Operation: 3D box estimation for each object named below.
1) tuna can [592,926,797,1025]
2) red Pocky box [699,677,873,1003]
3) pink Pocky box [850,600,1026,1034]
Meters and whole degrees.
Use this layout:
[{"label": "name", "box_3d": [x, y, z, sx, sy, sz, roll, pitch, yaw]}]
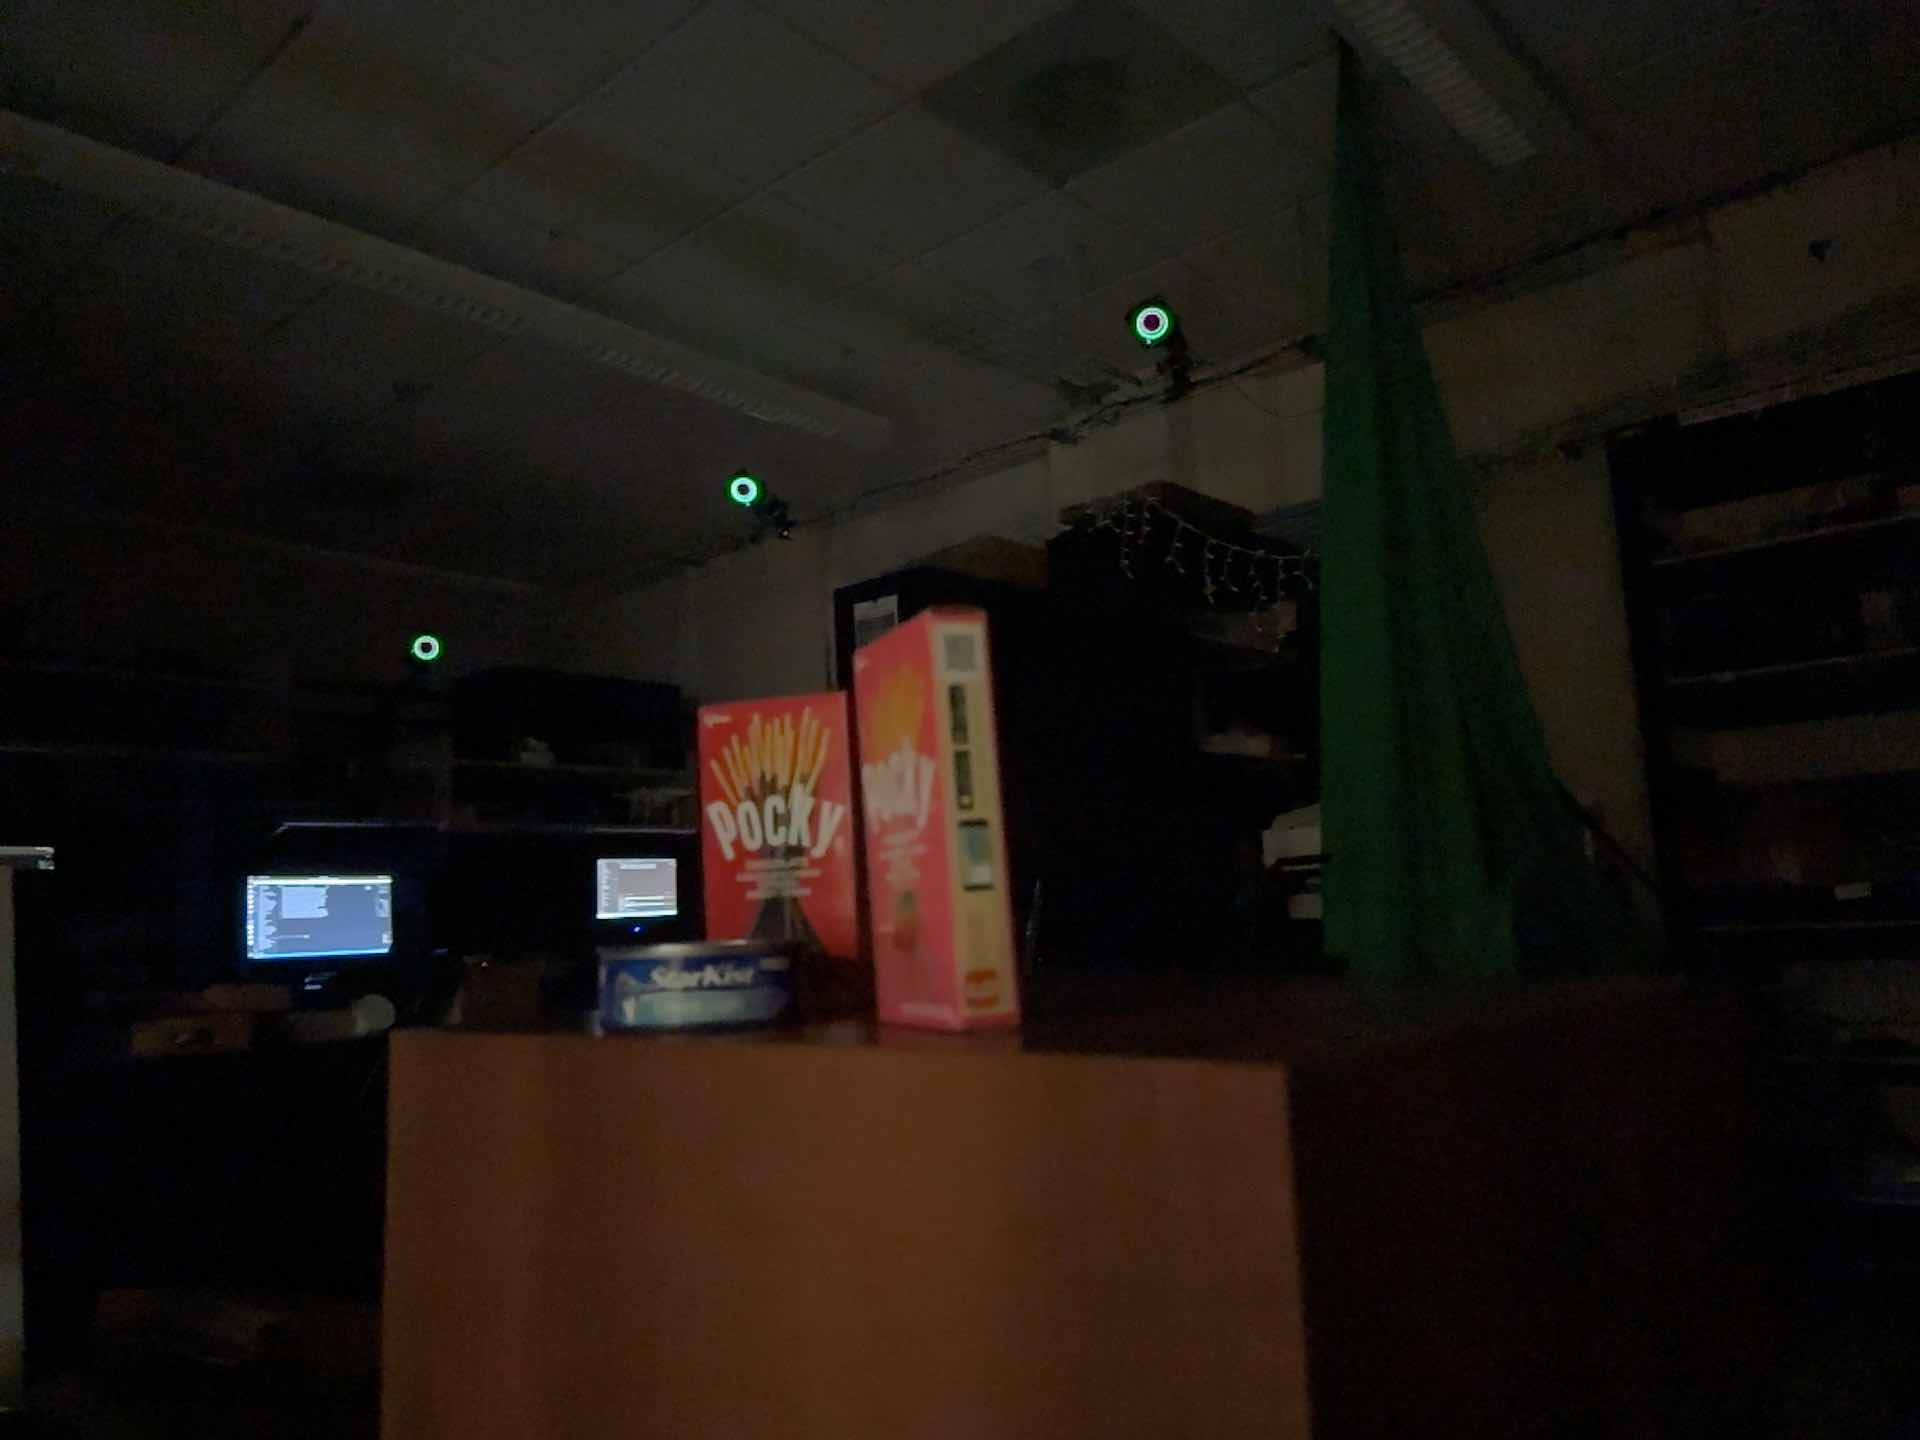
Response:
[{"label": "tuna can", "box_3d": [-0.111, 0.106, 0.567, 0.083, 0.034, 0.083, -3, -7, 0]}, {"label": "red Pocky box", "box_3d": [-0.086, 0.059, 0.657, 0.083, 0.155, 0.028, -5, -6, 26]}, {"label": "pink Pocky box", "box_3d": [-0.011, 0.038, 0.514, 0.029, 0.155, 0.084, -1, -7, -25]}]
